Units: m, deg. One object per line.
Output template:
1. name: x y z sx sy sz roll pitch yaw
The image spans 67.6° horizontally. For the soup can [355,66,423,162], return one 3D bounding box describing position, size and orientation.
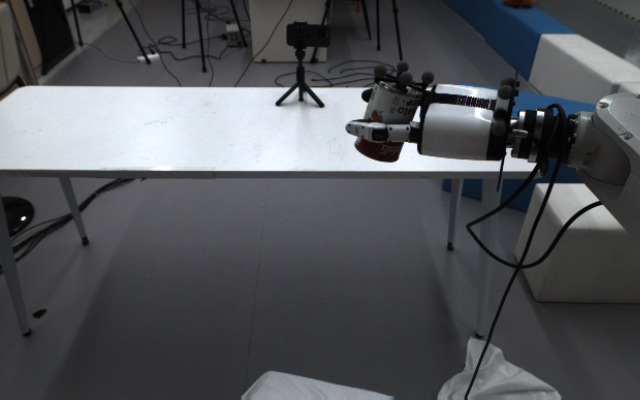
1. soup can: 0.096 -0.113 0.677 0.067 0.101 0.067 13 30 -8
